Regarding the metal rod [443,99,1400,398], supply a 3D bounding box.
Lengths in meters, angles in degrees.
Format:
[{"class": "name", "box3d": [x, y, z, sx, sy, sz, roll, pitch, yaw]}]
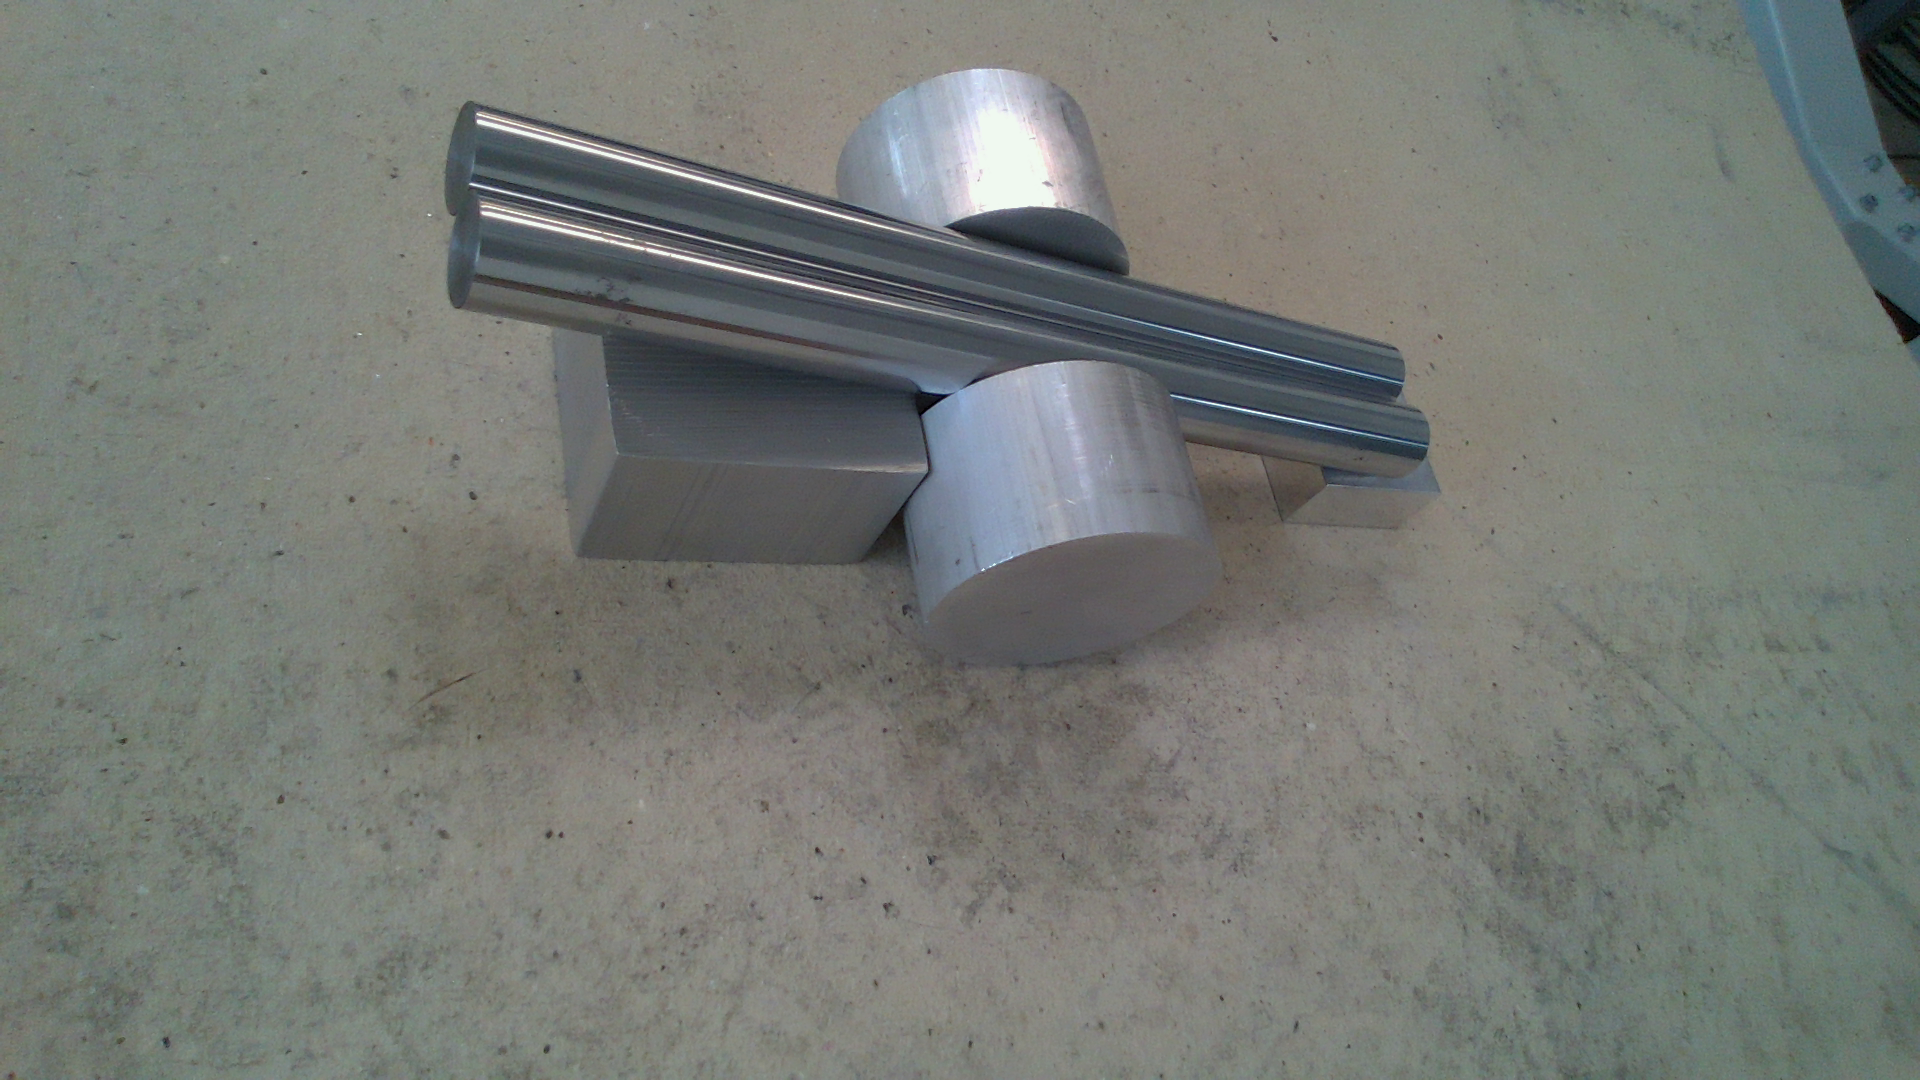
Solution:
[{"class": "metal rod", "box3d": [0.015, -0.069, 0.383, 0.301, 0.025, 0.025, 6, 58, -34]}]

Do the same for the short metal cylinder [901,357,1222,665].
[{"class": "short metal cylinder", "box3d": [0.025, -0.005, 0.371, 0.080, 0.080, 0.050, 2, 61, -27]}]

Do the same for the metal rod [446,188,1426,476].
[{"class": "metal rod", "box3d": [0.020, -0.047, 0.372, 0.301, 0.025, 0.025, 6, 58, -34]}]

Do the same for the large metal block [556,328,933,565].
[{"class": "large metal block", "box3d": [-0.061, -0.041, 0.367, 0.080, 0.050, 0.080, 2, 61, -27]}]

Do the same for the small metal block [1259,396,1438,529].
[{"class": "small metal block", "box3d": [0.132, -0.033, 0.481, 0.050, 0.025, 0.050, 3, 60, -26]}]

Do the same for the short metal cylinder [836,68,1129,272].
[{"class": "short metal cylinder", "box3d": [0.006, -0.094, 0.415, 0.080, 0.080, 0.050, 2, 61, -27]}]
